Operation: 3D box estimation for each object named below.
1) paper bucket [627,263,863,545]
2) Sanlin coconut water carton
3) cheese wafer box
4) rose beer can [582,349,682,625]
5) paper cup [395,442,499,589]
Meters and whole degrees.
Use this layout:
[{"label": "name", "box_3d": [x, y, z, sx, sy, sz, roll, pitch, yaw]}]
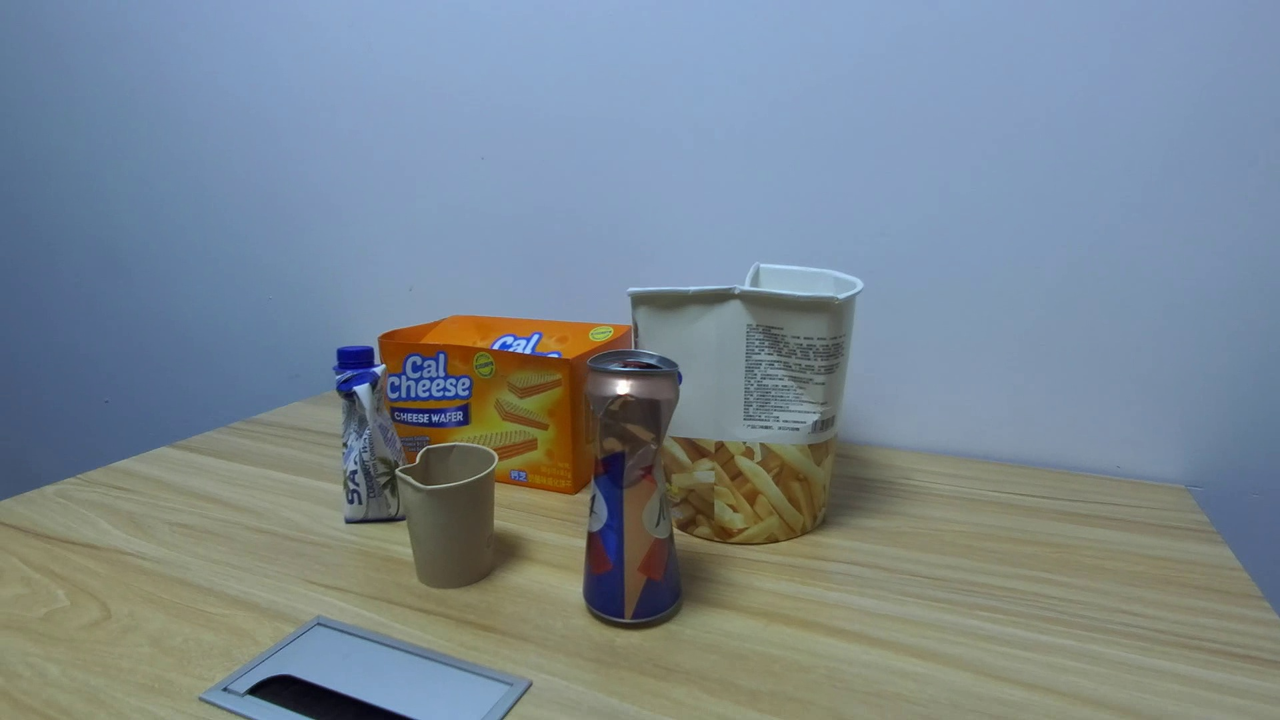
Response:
[{"label": "paper bucket", "box_3d": [0.088, 0.027, 0.590, 0.169, 0.202, 0.163, 5, 14, 13]}, {"label": "Sanlin coconut water carton", "box_3d": [-0.228, 0.063, 0.579, 0.057, 0.145, 0.068, -10, 22, -4]}, {"label": "cheese wafer box", "box_3d": [-0.140, 0.035, 0.720, 0.230, 0.132, 0.152, 6, 17, 20]}, {"label": "rose beer can", "box_3d": [-0.003, 0.081, 0.448, 0.065, 0.167, 0.076, 5, 13, 14]}, {"label": "paper cup", "box_3d": [-0.133, 0.111, 0.501, 0.073, 0.081, 0.069, 11, 17, 40]}]
